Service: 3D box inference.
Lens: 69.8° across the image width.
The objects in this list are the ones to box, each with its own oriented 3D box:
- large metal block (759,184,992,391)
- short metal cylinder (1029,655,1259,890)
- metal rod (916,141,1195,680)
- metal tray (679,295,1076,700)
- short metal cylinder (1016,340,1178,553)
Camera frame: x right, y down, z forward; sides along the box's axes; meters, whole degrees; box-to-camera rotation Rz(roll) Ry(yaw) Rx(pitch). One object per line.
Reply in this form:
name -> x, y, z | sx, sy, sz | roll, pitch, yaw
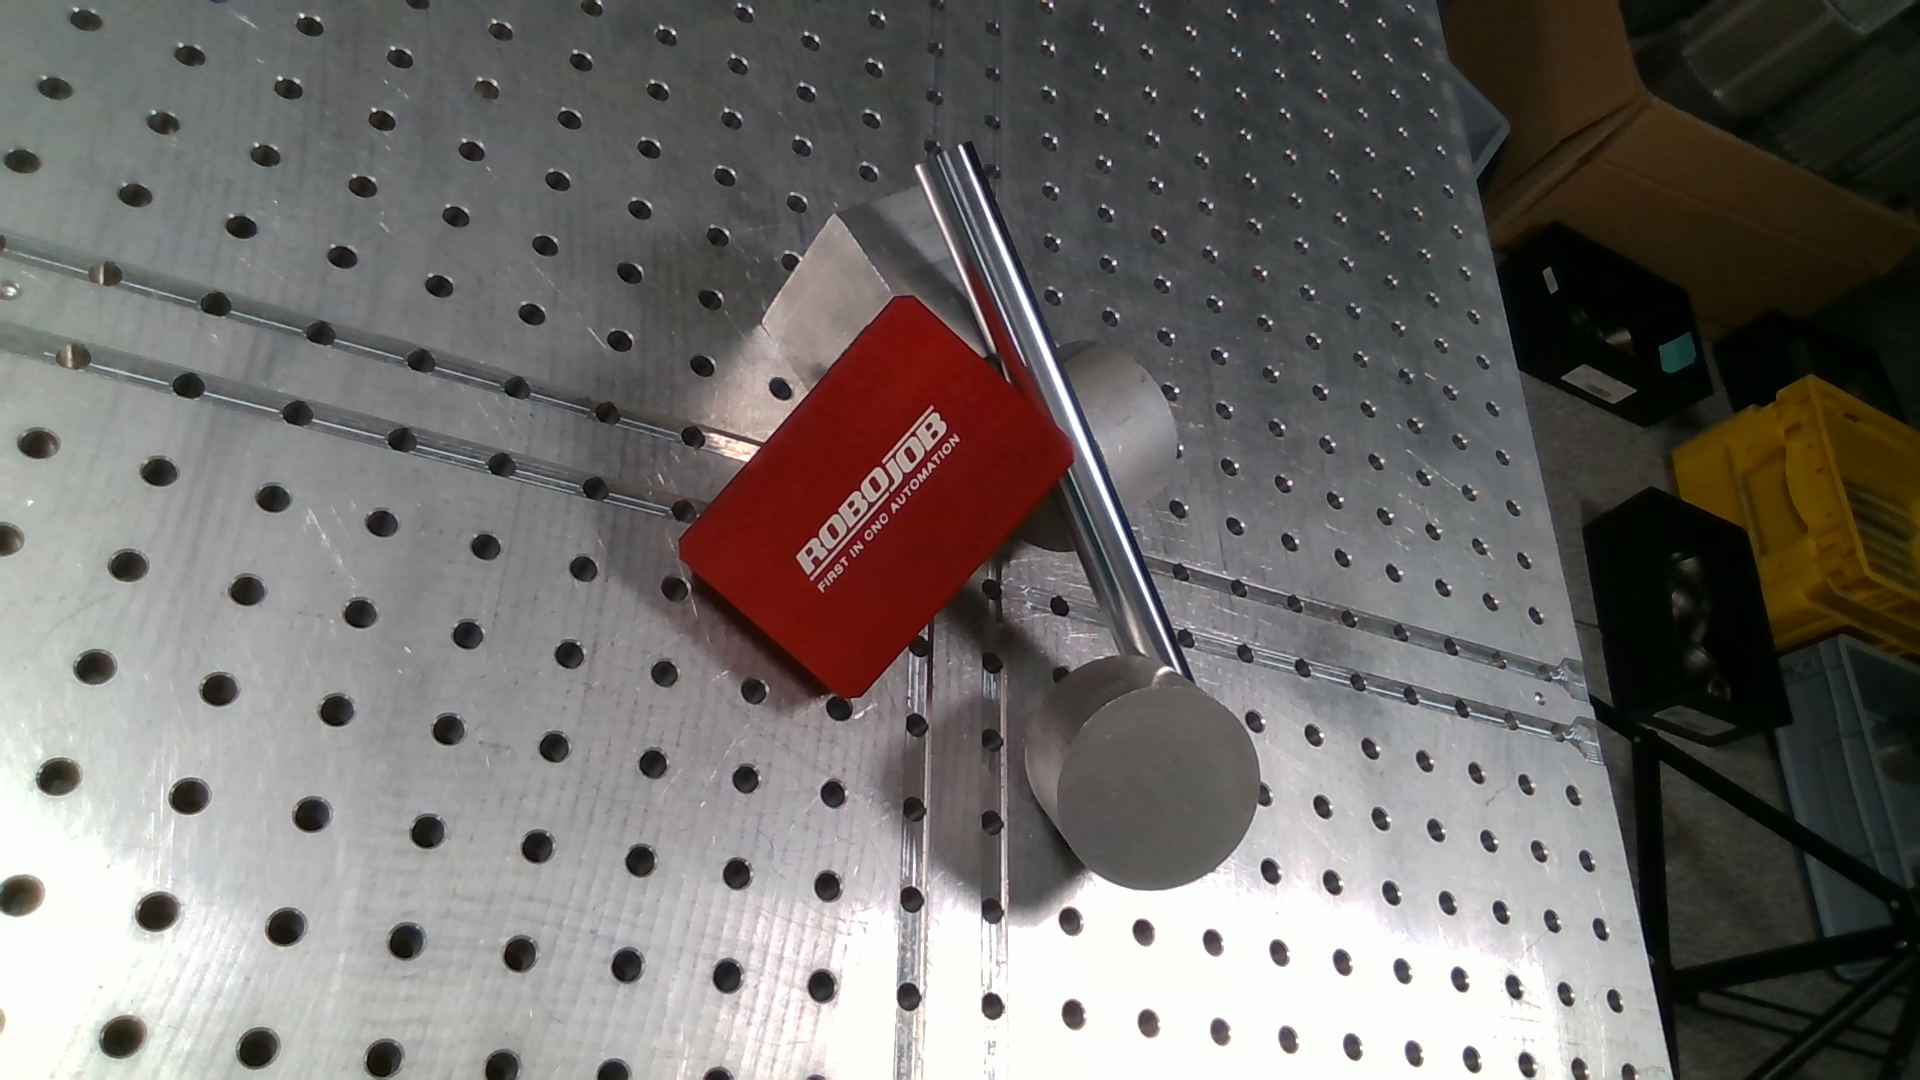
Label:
large metal block -> -0.029, -0.089, 0.583 | 0.050, 0.080, 0.080 | -30, 83, -39
short metal cylinder -> 0.070, 0.090, 0.542 | 0.080, 0.050, 0.080 | -2, 99, -11
metal rod -> 0.053, -0.014, 0.560 | 0.025, 0.025, 0.300 | -35, 107, -39
metal tray -> -0.031, -0.016, 0.524 | 0.090, 0.030, 0.130 | 42, 93, -6
short metal cylinder -> 0.048, -0.041, 0.605 | 0.050, 0.080, 0.080 | -35, 86, -39
